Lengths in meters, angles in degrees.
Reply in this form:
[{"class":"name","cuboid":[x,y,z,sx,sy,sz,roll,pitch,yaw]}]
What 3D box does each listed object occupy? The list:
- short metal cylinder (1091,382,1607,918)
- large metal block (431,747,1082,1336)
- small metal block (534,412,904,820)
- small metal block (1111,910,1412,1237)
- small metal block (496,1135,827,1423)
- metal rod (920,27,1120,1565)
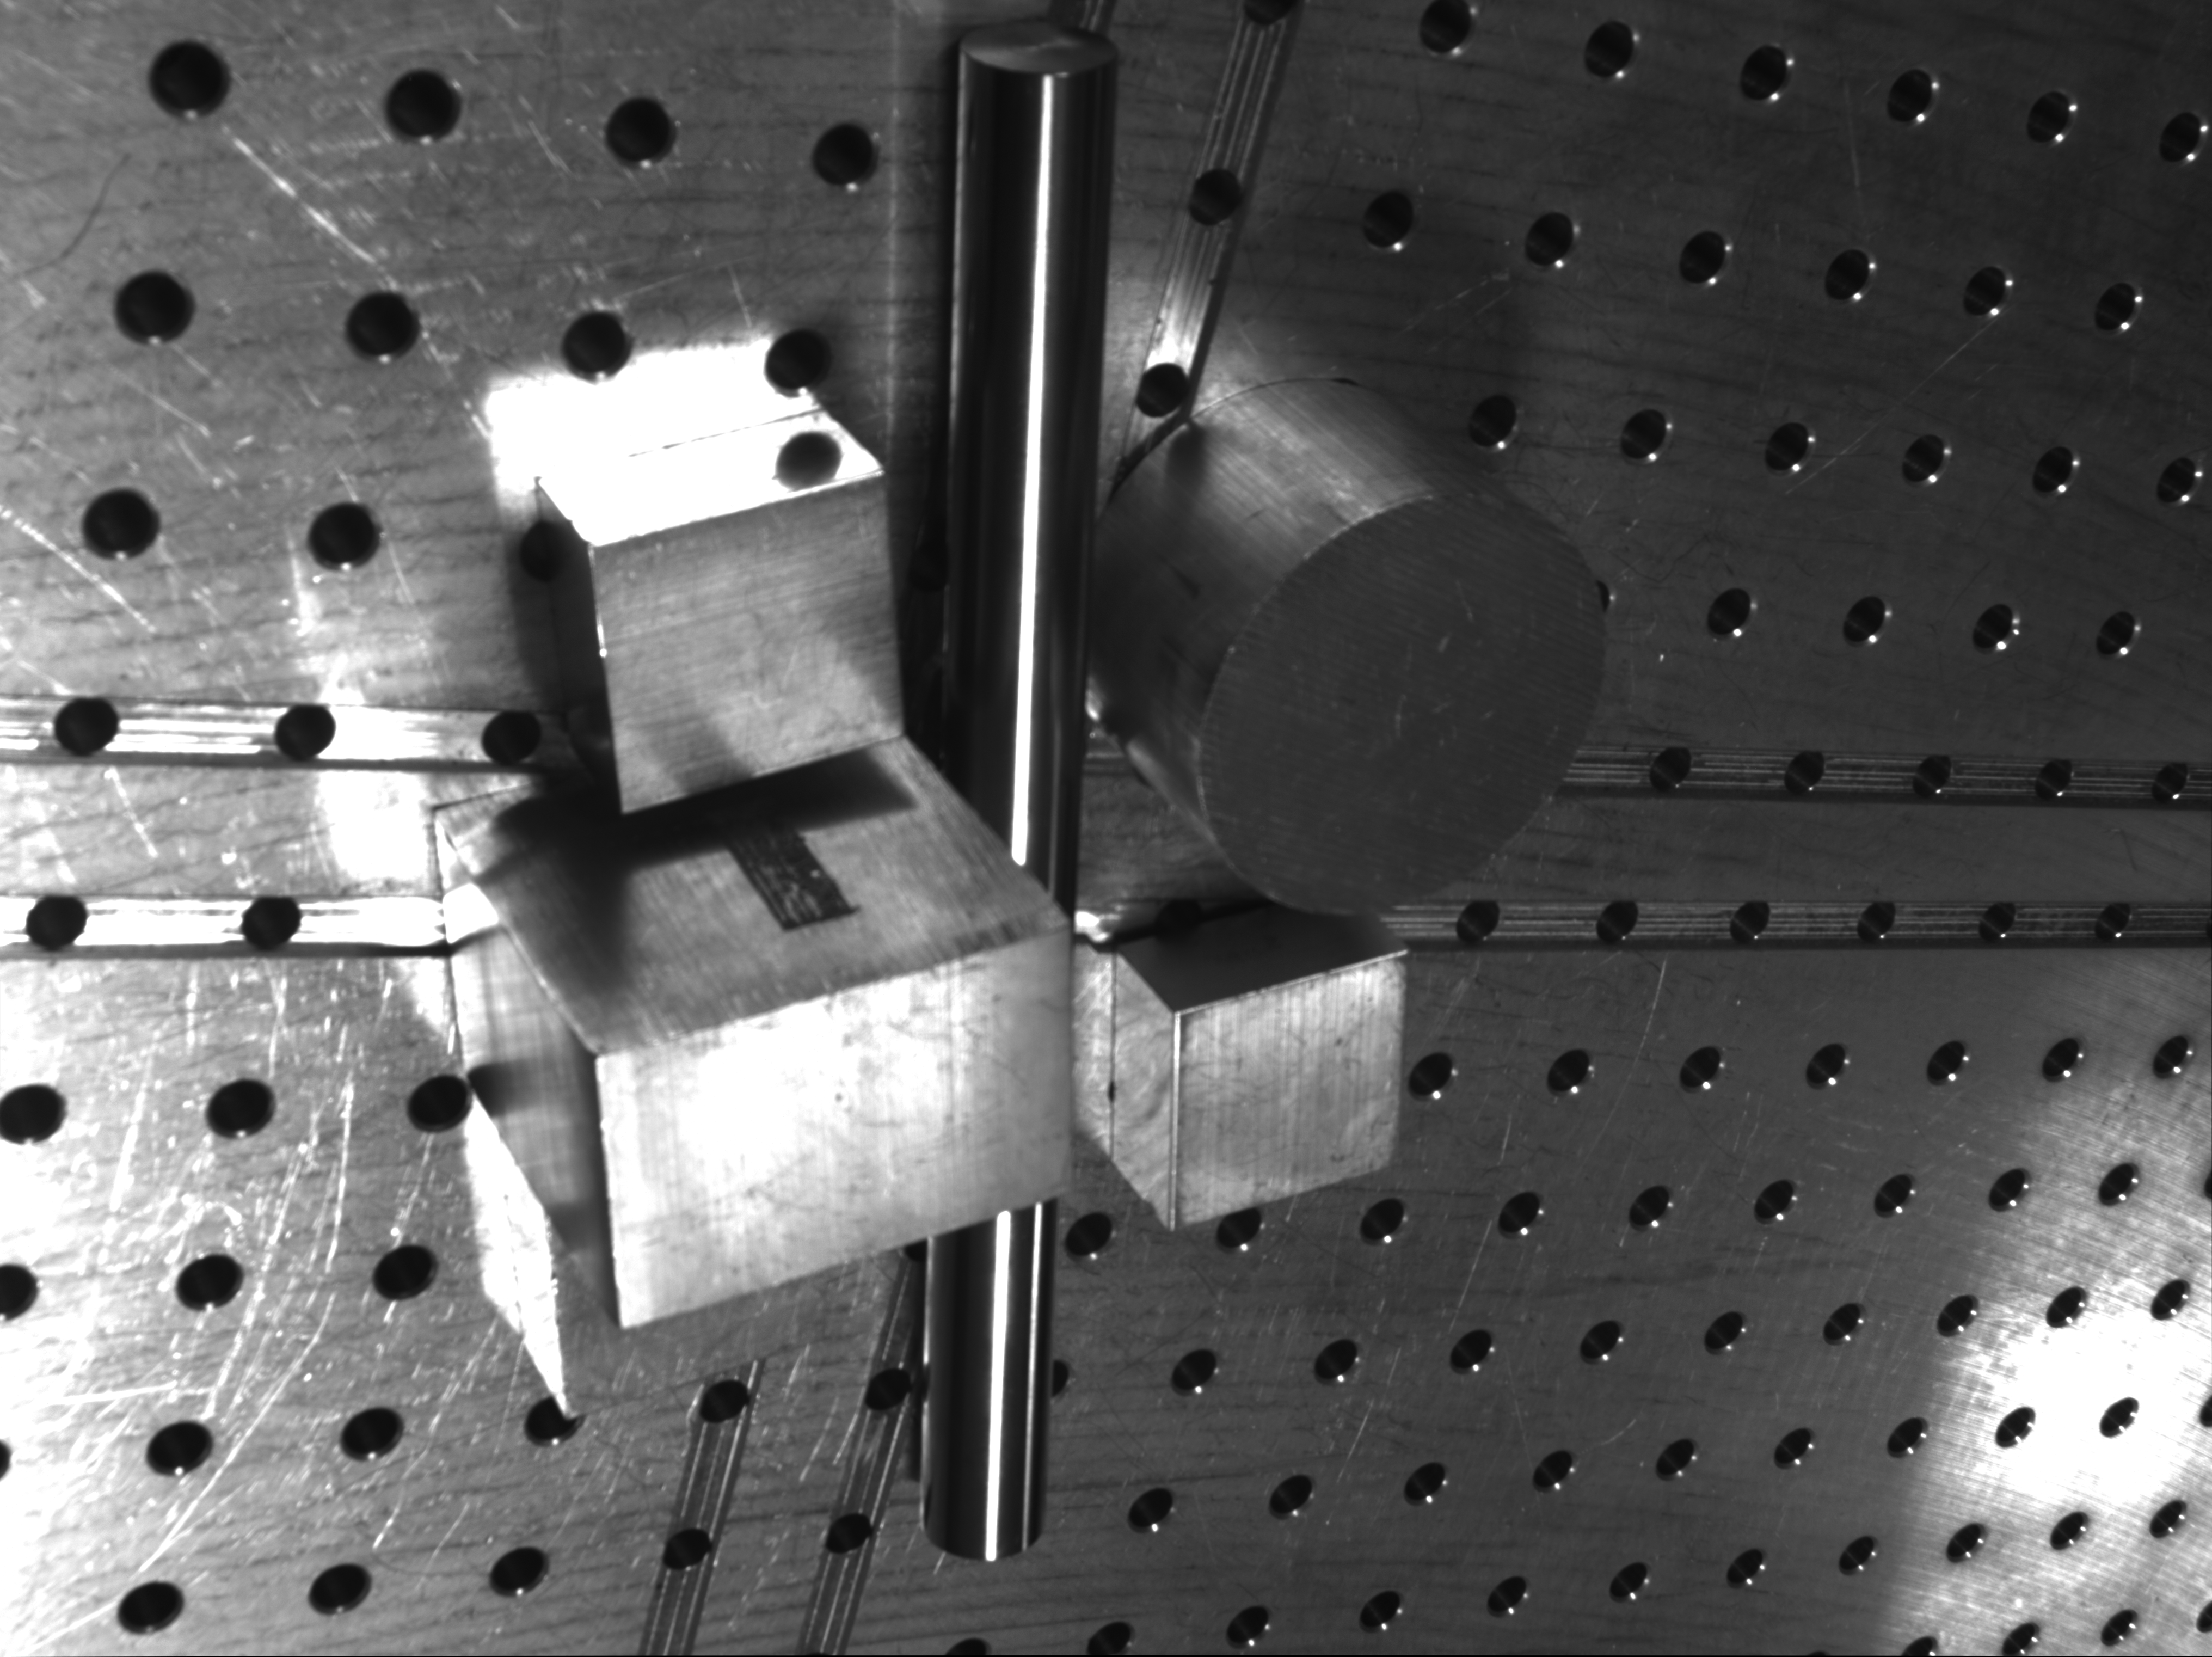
[{"class":"short metal cylinder","cuboid":[0.040,-0.031,0.641,0.080,0.050,0.080,-15,125,-22]},{"class":"large metal block","cuboid":[-0.058,0.029,0.601,0.080,0.080,0.050,-15,125,-22]},{"class":"small metal block","cuboid":[-0.062,-0.035,0.596,0.050,0.025,0.050,-16,125,-21]},{"class":"small metal block","cuboid":[0.029,0.044,0.698,0.050,0.025,0.050,-14,124,-23]},{"class":"small metal block","cuboid":[-0.079,0.072,0.653,0.050,0.025,0.050,-15,125,-22]},{"class":"metal rod","cuboid":[-0.017,0.008,0.648,0.025,0.025,0.300,-12,124,-24]}]
